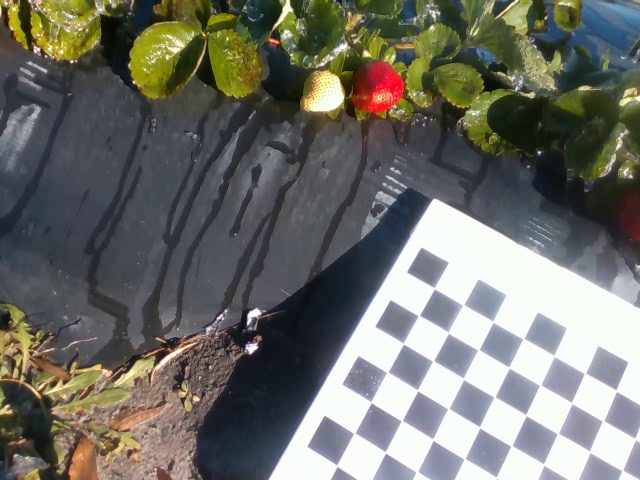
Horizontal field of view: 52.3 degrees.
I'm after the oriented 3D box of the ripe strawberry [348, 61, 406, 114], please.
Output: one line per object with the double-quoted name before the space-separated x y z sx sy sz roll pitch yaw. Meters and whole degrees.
"ripe strawberry" 0.045 -0.115 0.509 0.042 0.046 0.061 16 29 4
